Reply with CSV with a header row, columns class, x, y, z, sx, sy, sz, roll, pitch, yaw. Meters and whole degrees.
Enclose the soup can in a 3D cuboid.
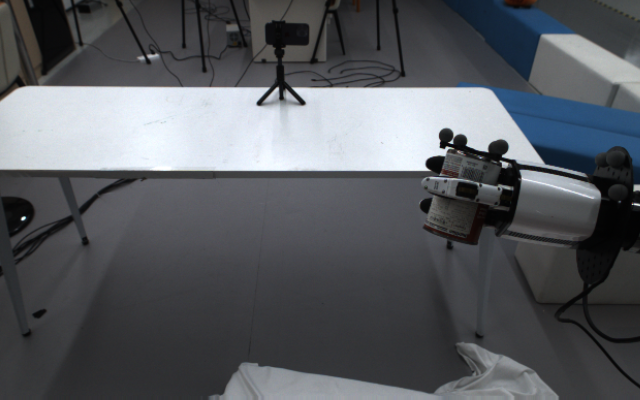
class,x,y,z,sx,sy,sz,roll,pitch,yaw
soup can,0.172,-0.008,0.588,0.067,0.101,0.067,15,6,-2
